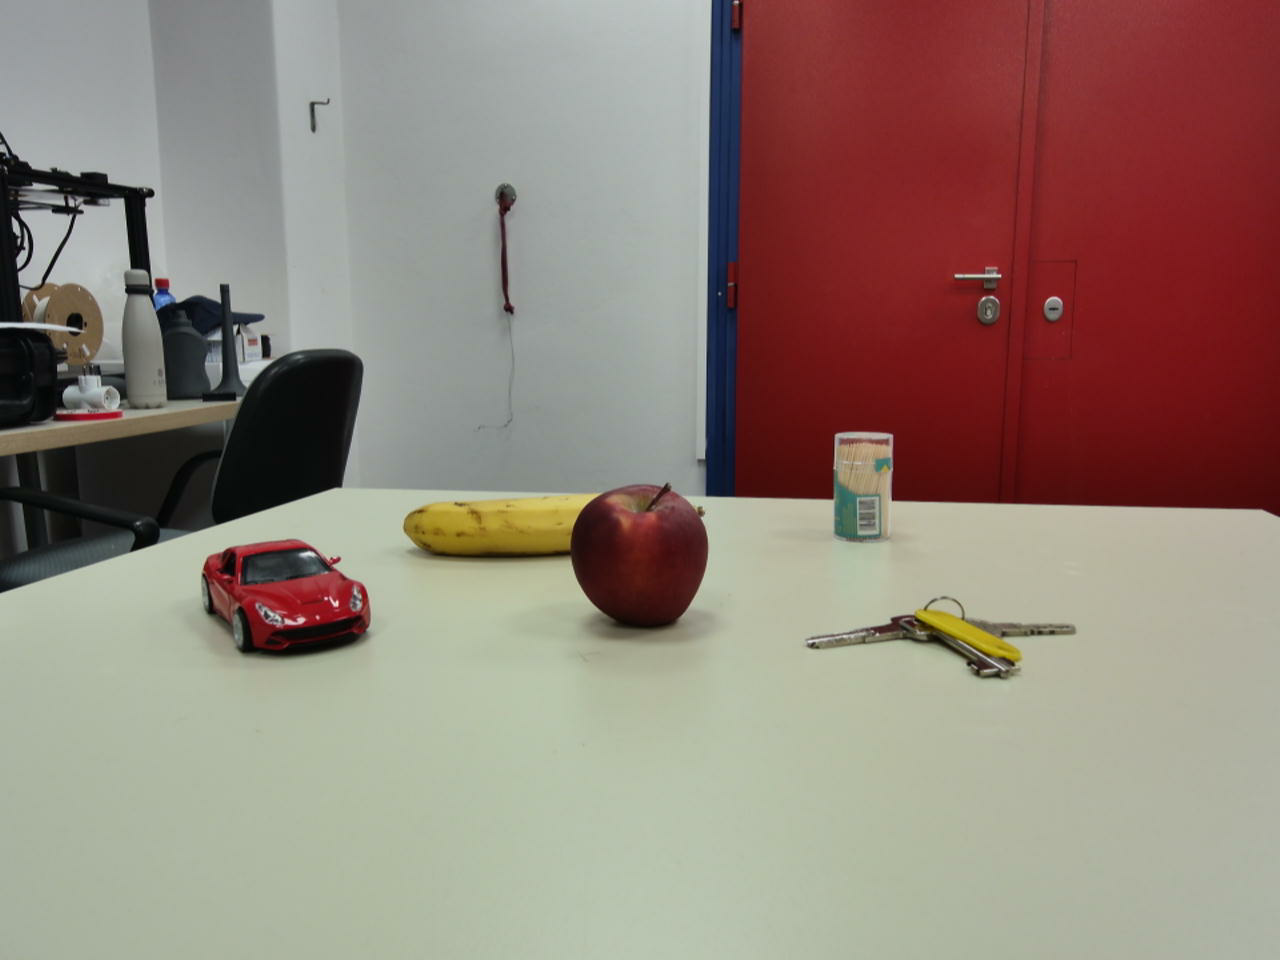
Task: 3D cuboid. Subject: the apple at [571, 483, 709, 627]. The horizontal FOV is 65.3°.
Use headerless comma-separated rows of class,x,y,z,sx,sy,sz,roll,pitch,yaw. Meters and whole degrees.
apple,0.000,0.038,0.508,0.070,0.072,0.070,1,6,0
